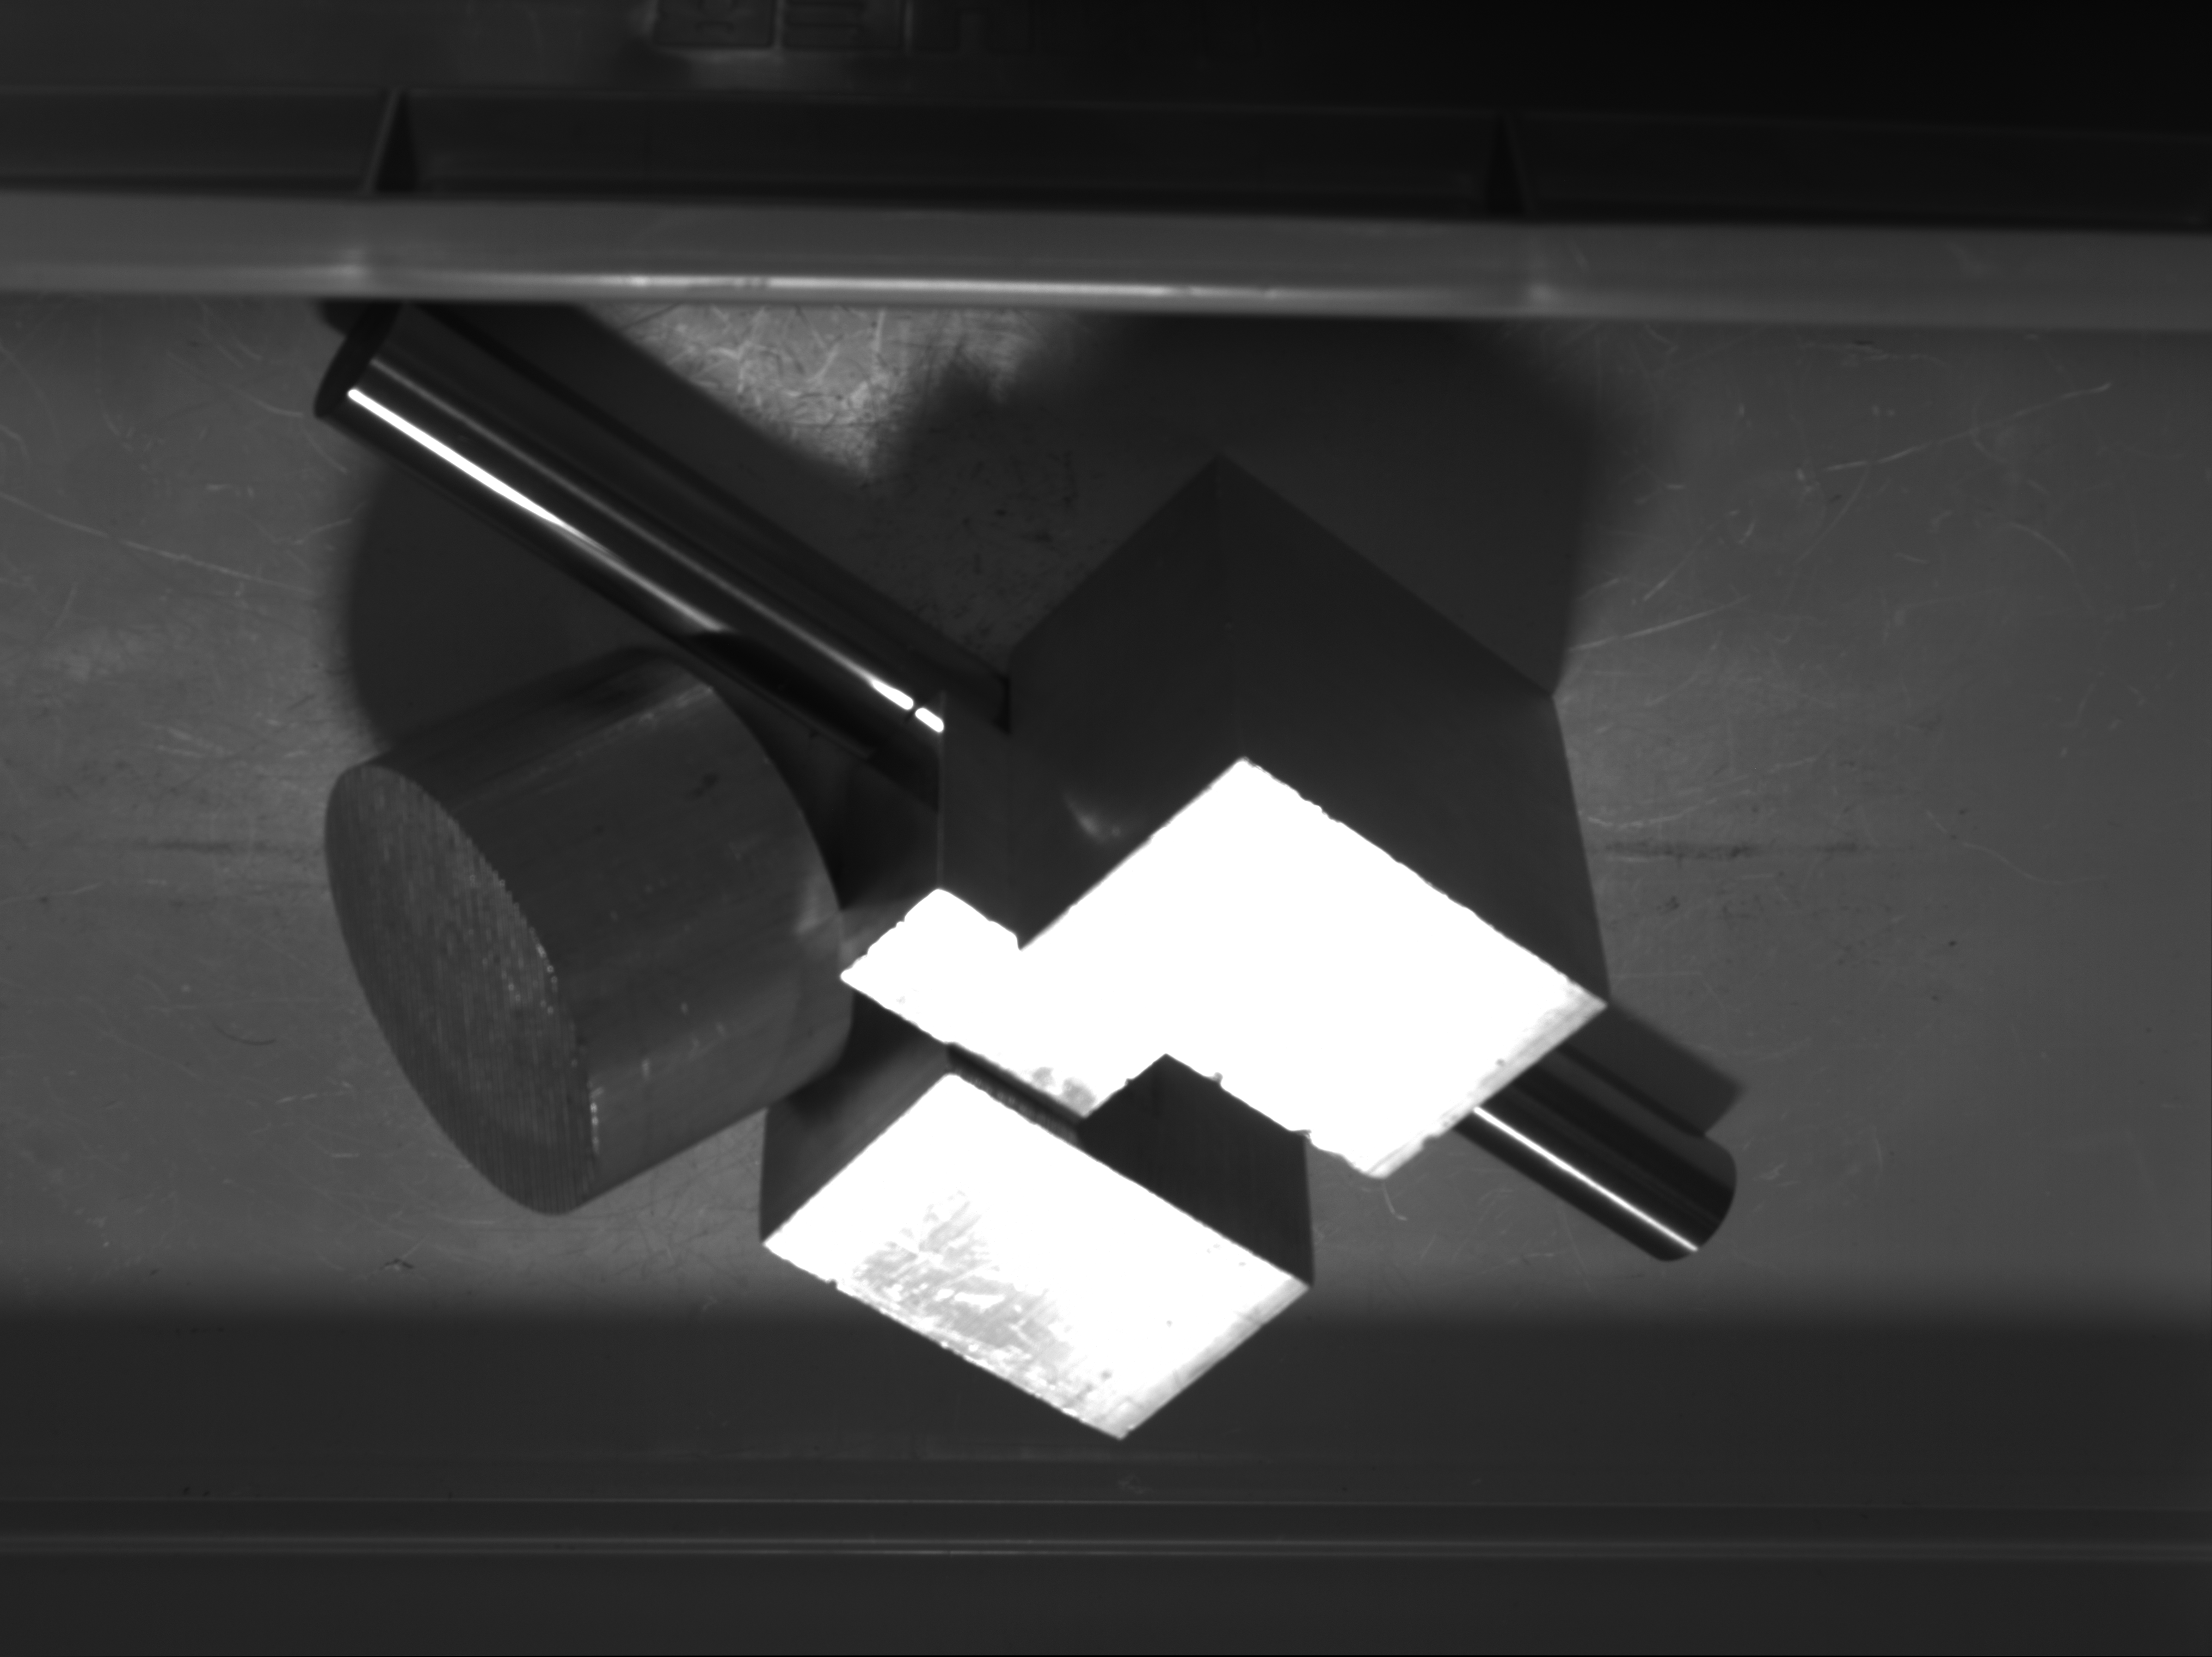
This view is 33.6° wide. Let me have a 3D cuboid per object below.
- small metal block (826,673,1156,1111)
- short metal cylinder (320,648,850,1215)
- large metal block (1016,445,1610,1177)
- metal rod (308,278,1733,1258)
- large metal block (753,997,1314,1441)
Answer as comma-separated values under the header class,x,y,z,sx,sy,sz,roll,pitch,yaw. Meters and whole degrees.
class,x,y,z,sx,sy,sz,roll,pitch,yaw
small metal block,-0.018,0.010,0.599,0.050,0.050,0.025,34,121,-26
short metal cylinder,-0.087,0.017,0.604,0.050,0.080,0.080,-28,138,-31
large metal block,0.032,-0.003,0.601,0.080,0.080,0.050,34,122,-26
metal rod,-0.003,-0.002,0.636,0.301,0.025,0.025,33,122,-26
large metal block,-0.012,0.047,0.641,0.080,0.080,0.050,32,122,-25
